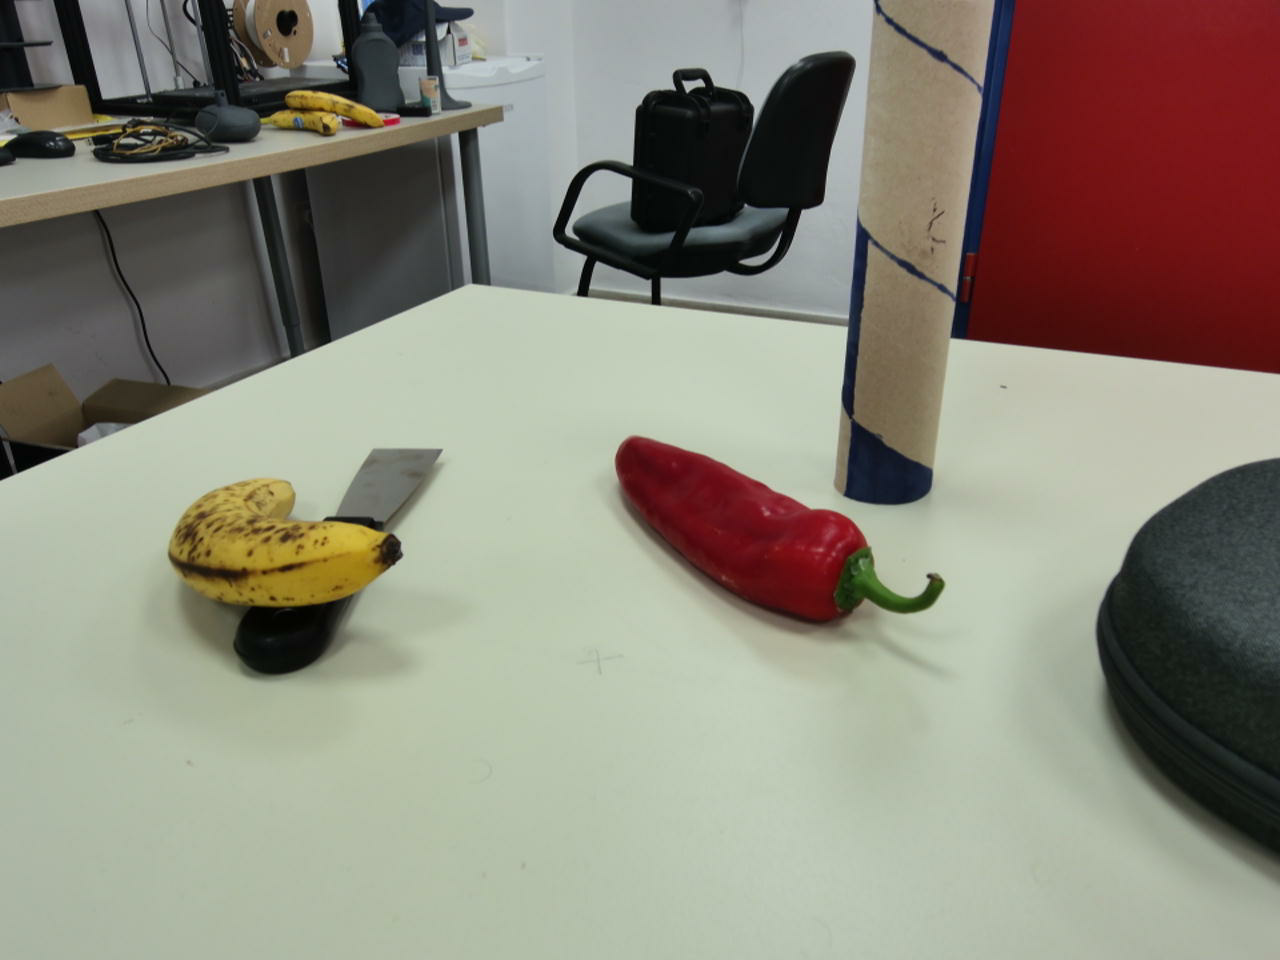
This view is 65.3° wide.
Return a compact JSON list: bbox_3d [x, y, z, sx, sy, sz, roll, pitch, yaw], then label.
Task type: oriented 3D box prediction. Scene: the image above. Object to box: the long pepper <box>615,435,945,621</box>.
[{"bbox_3d":[0.042,0.017,0.438,0.050,0.043,0.211,-14,27,-29],"label":"long pepper"}]
